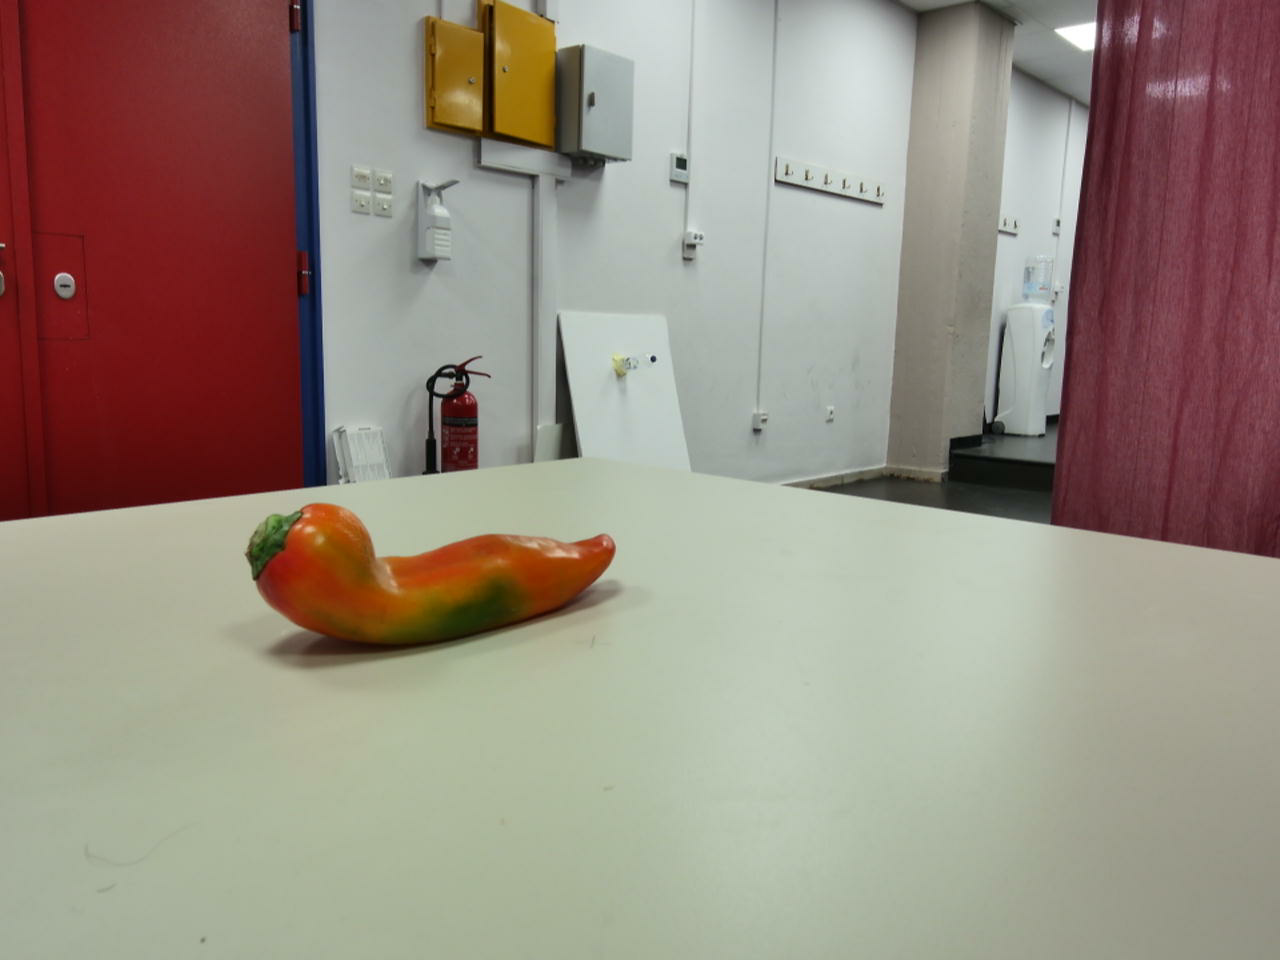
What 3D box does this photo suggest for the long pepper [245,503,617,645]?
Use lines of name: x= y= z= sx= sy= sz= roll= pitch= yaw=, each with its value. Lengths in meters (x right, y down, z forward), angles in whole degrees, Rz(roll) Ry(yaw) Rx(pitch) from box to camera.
long pepper: x=-0.085 y=0.036 z=0.476 sx=0.199 sy=0.065 sz=0.066 roll=-6 pitch=9 yaw=-43
